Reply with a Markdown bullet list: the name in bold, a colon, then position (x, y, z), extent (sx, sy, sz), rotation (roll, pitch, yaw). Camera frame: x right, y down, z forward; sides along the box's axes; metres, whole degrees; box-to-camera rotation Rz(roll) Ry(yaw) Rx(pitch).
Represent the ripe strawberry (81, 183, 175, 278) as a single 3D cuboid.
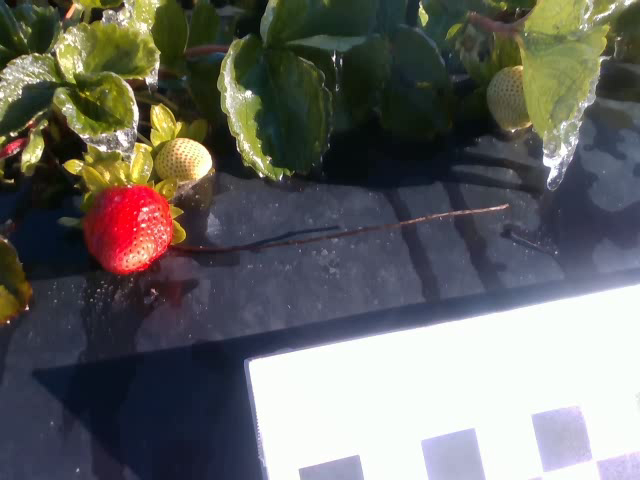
- **ripe strawberry**: position (-0.060, 0.000, 0.198), extent (0.039, 0.040, 0.039), rotation (-20, 23, -3)
